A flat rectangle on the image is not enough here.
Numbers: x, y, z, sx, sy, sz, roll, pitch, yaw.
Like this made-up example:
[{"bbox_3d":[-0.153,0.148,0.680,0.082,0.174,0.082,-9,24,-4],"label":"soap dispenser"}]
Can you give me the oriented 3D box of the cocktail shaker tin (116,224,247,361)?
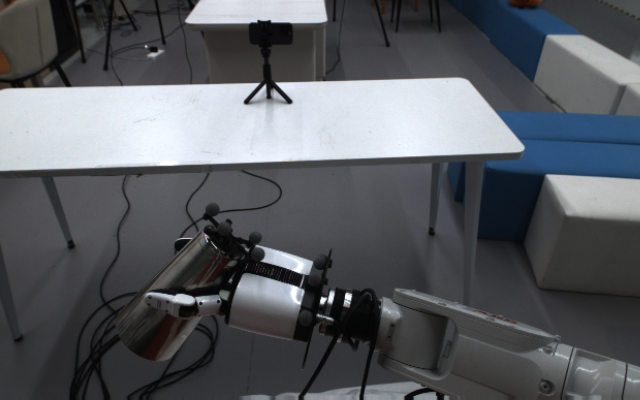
[{"bbox_3d":[-0.174,0.112,0.629,0.093,0.170,0.093,41,13,-12],"label":"cocktail shaker tin"}]
